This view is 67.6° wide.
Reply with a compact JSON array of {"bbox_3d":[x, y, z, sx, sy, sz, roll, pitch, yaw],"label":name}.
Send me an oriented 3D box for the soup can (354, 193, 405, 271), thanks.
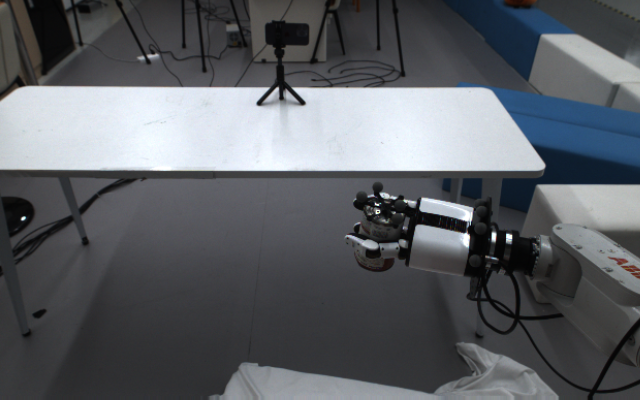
[{"bbox_3d":[0.096,0.058,0.777,0.067,0.101,0.067,5,36,-3],"label":"soup can"}]
